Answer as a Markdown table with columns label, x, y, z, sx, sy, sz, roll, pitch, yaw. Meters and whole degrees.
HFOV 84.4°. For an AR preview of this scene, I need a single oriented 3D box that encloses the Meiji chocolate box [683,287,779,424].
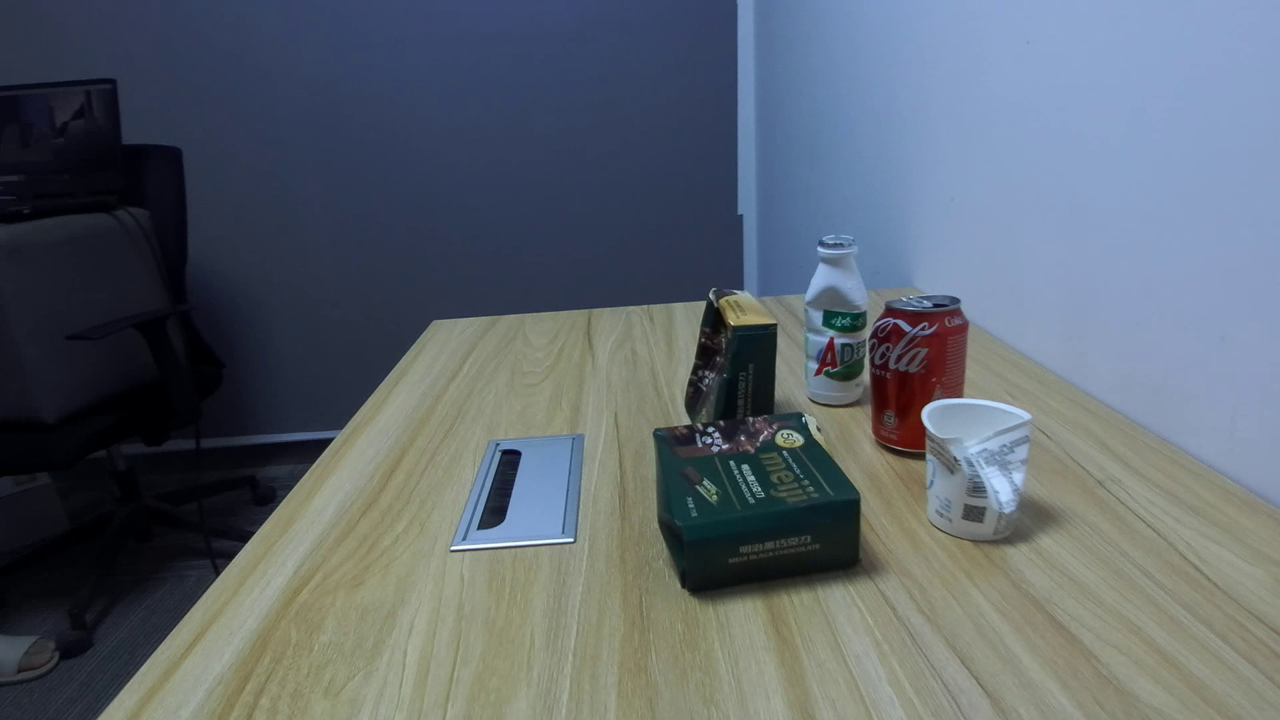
| label | x | y | z | sx | sy | sz | roll | pitch | yaw |
| --- | --- | --- | --- | --- | --- | --- | --- | --- | --- |
| Meiji chocolate box | 0.075 | 0.009 | 0.574 | 0.052 | 0.117 | 0.117 | 2 | 18 | -7 |

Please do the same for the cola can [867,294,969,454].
| label | x | y | z | sx | sy | sz | roll | pitch | yaw |
| --- | --- | --- | --- | --- | --- | --- | --- | --- | --- |
| cola can | 0.213 | 0.010 | 0.538 | 0.072 | 0.117 | 0.065 | -7 | 22 | -9 |

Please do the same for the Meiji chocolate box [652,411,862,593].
| label | x | y | z | sx | sy | sz | roll | pitch | yaw |
| --- | --- | --- | --- | --- | --- | --- | --- | --- | --- |
| Meiji chocolate box | 0.069 | 0.087 | 0.447 | 0.122 | 0.058 | 0.115 | -6 | 23 | -5 |

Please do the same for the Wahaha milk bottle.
| label | x | y | z | sx | sy | sz | roll | pitch | yaw |
| --- | --- | --- | --- | --- | --- | --- | --- | --- | --- |
| Wahaha milk bottle | 0.172 | -0.034 | 0.620 | 0.056 | 0.148 | 0.056 | -3 | 22 | 2 |

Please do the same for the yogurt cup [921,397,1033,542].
| label | x | y | z | sx | sy | sz | roll | pitch | yaw |
| --- | --- | --- | --- | --- | --- | --- | --- | --- | --- |
| yogurt cup | 0.209 | 0.069 | 0.446 | 0.067 | 0.070 | 0.067 | -5 | 20 | 2 |
